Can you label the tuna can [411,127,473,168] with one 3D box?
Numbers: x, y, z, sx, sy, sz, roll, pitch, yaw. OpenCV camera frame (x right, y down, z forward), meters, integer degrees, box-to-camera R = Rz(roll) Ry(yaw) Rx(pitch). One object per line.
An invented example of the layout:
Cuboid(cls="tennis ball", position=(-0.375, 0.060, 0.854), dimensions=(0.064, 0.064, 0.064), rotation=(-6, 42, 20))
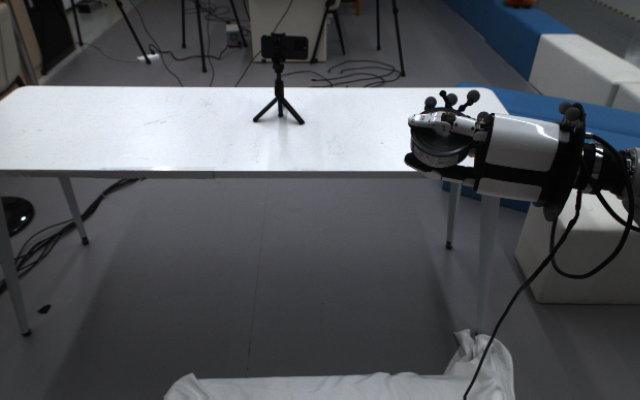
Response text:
Cuboid(cls="tuna can", position=(0.171, -0.091, 0.683), dimensions=(0.085, 0.034, 0.085), rotation=(-4, 56, 6))
